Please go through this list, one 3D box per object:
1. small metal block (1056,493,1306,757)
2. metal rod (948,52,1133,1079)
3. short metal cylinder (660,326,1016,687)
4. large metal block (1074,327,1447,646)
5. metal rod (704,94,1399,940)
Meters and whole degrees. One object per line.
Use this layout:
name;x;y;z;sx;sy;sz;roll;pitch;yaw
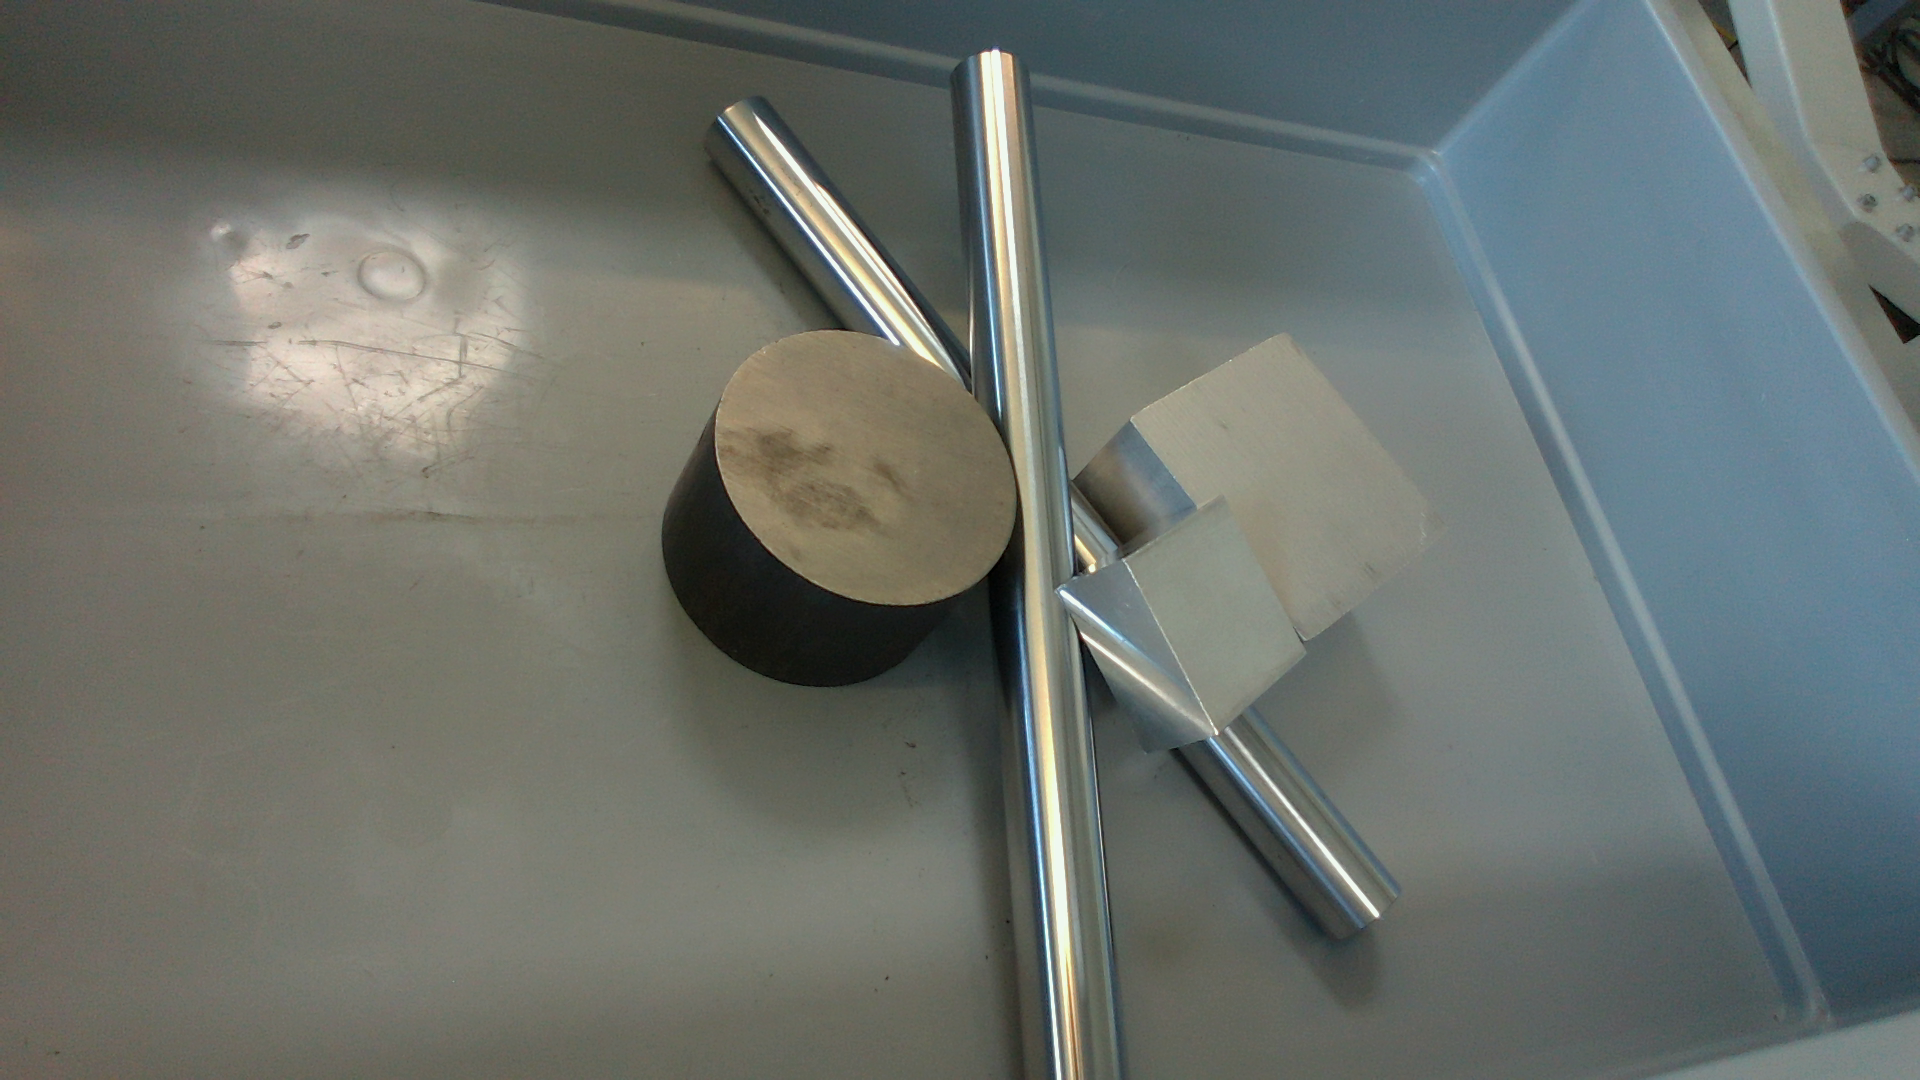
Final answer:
small metal block;0.060;0.022;0.366;0.050;0.025;0.050;-30;93;-46
metal rod;0.019;-0.004;0.375;0.025;0.025;0.300;6;67;-25
short metal cylinder;-0.032;-0.008;0.360;0.080;0.050;0.080;14;56;-21
large metal block;0.088;-0.008;0.424;0.080;0.050;0.080;-30;79;-38
metal rod;0.022;-0.013;0.407;0.025;0.025;0.300;-32;80;-38
